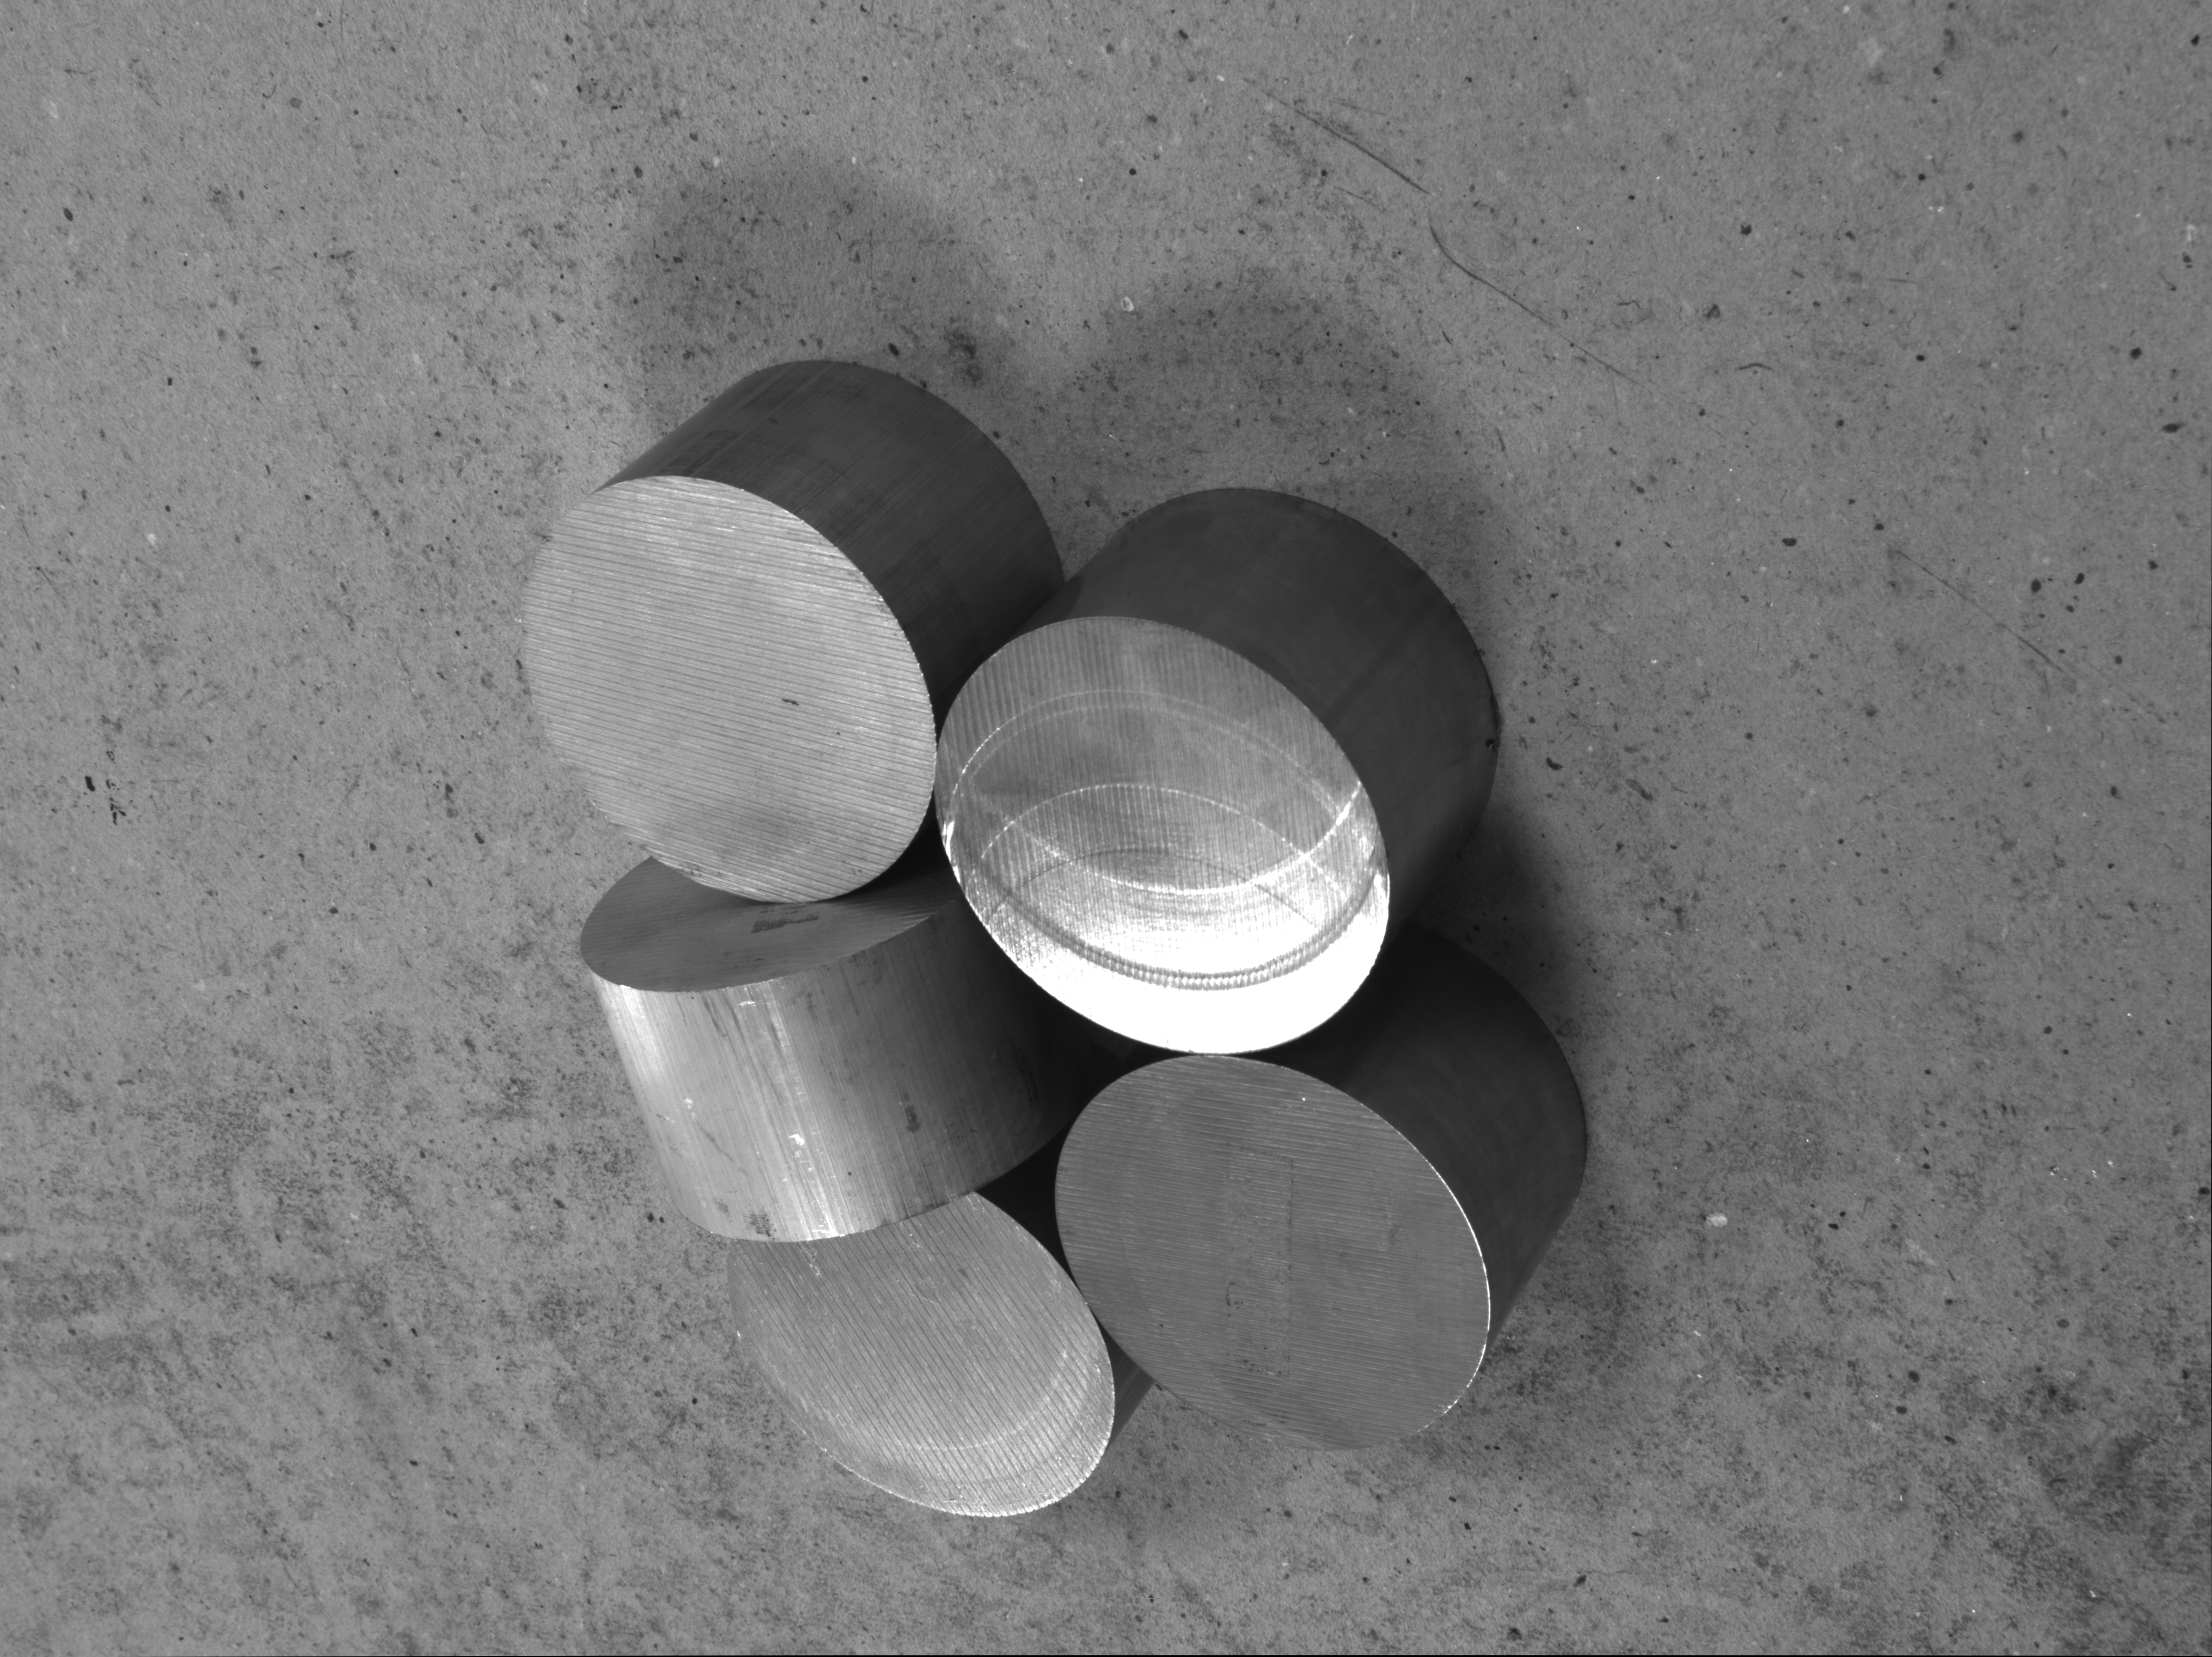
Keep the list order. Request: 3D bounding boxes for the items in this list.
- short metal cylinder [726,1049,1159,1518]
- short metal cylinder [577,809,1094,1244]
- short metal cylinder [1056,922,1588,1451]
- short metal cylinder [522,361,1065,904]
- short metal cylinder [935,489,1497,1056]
[{"bbox_3d":[-0.024,0.082,0.689,0.080,0.050,0.080,14,125,21],"label":"short metal cylinder"},{"bbox_3d":[-0.048,0.030,0.651,0.080,0.080,0.050,-3,117,30],"label":"short metal cylinder"},{"bbox_3d":[0.038,0.062,0.643,0.080,0.050,0.080,14,125,21],"label":"short metal cylinder"},{"bbox_3d":[-0.053,-0.034,0.634,0.080,0.050,0.080,14,125,21],"label":"short metal cylinder"},{"bbox_3d":[0.019,-0.009,0.610,0.080,0.050,0.080,13,124,21],"label":"short metal cylinder"}]
